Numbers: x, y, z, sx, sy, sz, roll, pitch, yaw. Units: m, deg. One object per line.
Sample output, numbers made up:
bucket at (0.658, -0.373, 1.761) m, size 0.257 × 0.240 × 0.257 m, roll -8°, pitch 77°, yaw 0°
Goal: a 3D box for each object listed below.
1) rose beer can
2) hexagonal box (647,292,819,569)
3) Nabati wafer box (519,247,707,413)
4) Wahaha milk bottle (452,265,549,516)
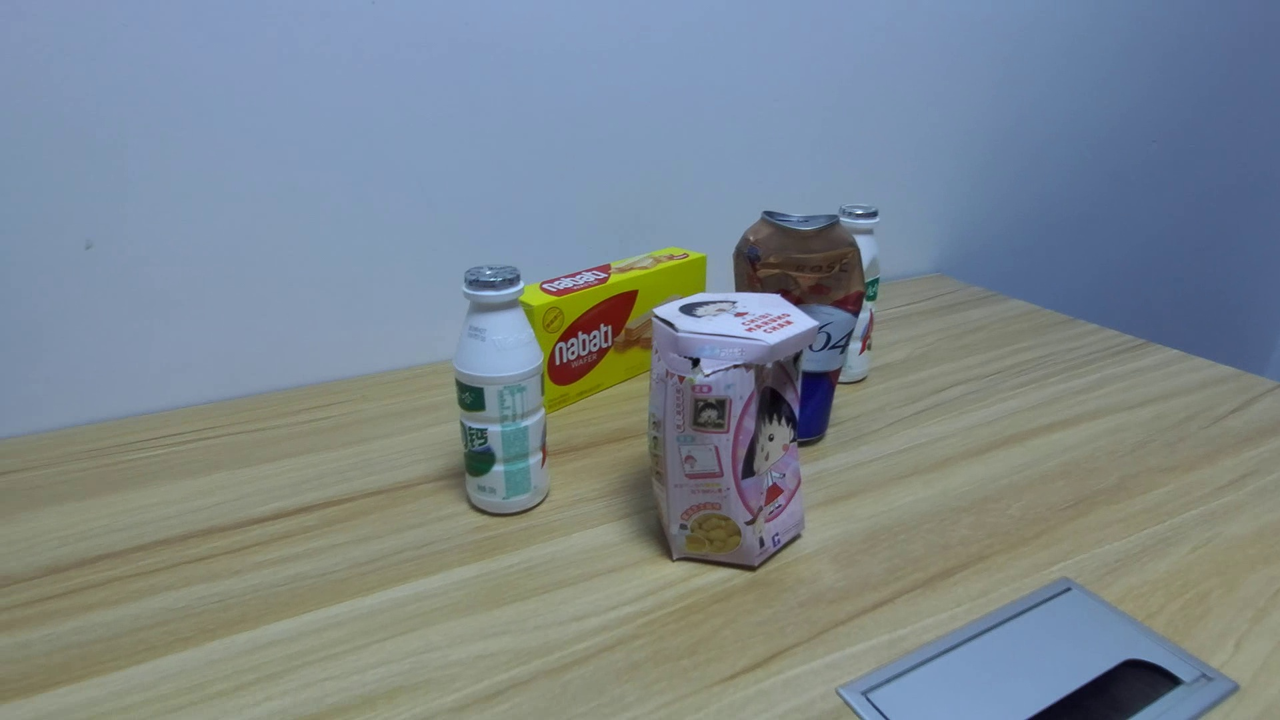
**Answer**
rose beer can at (0.107, -0.021, 0.497) m, size 0.074 × 0.162 × 0.067 m, roll -10°, pitch 25°, yaw -26°
hexagonal box at (0.048, 0.037, 0.397) m, size 0.091 × 0.134 × 0.090 m, roll -3°, pitch 21°, yaw -5°
Nabati wafer box at (-0.020, -0.031, 0.608) m, size 0.042 × 0.093 × 0.204 m, roll 21°, pitch 31°, yaw 40°
Wahaha milk bottle at (-0.082, 0.019, 0.421) m, size 0.053 × 0.147 × 0.053 m, roll 0°, pitch 23°, yaw 0°
